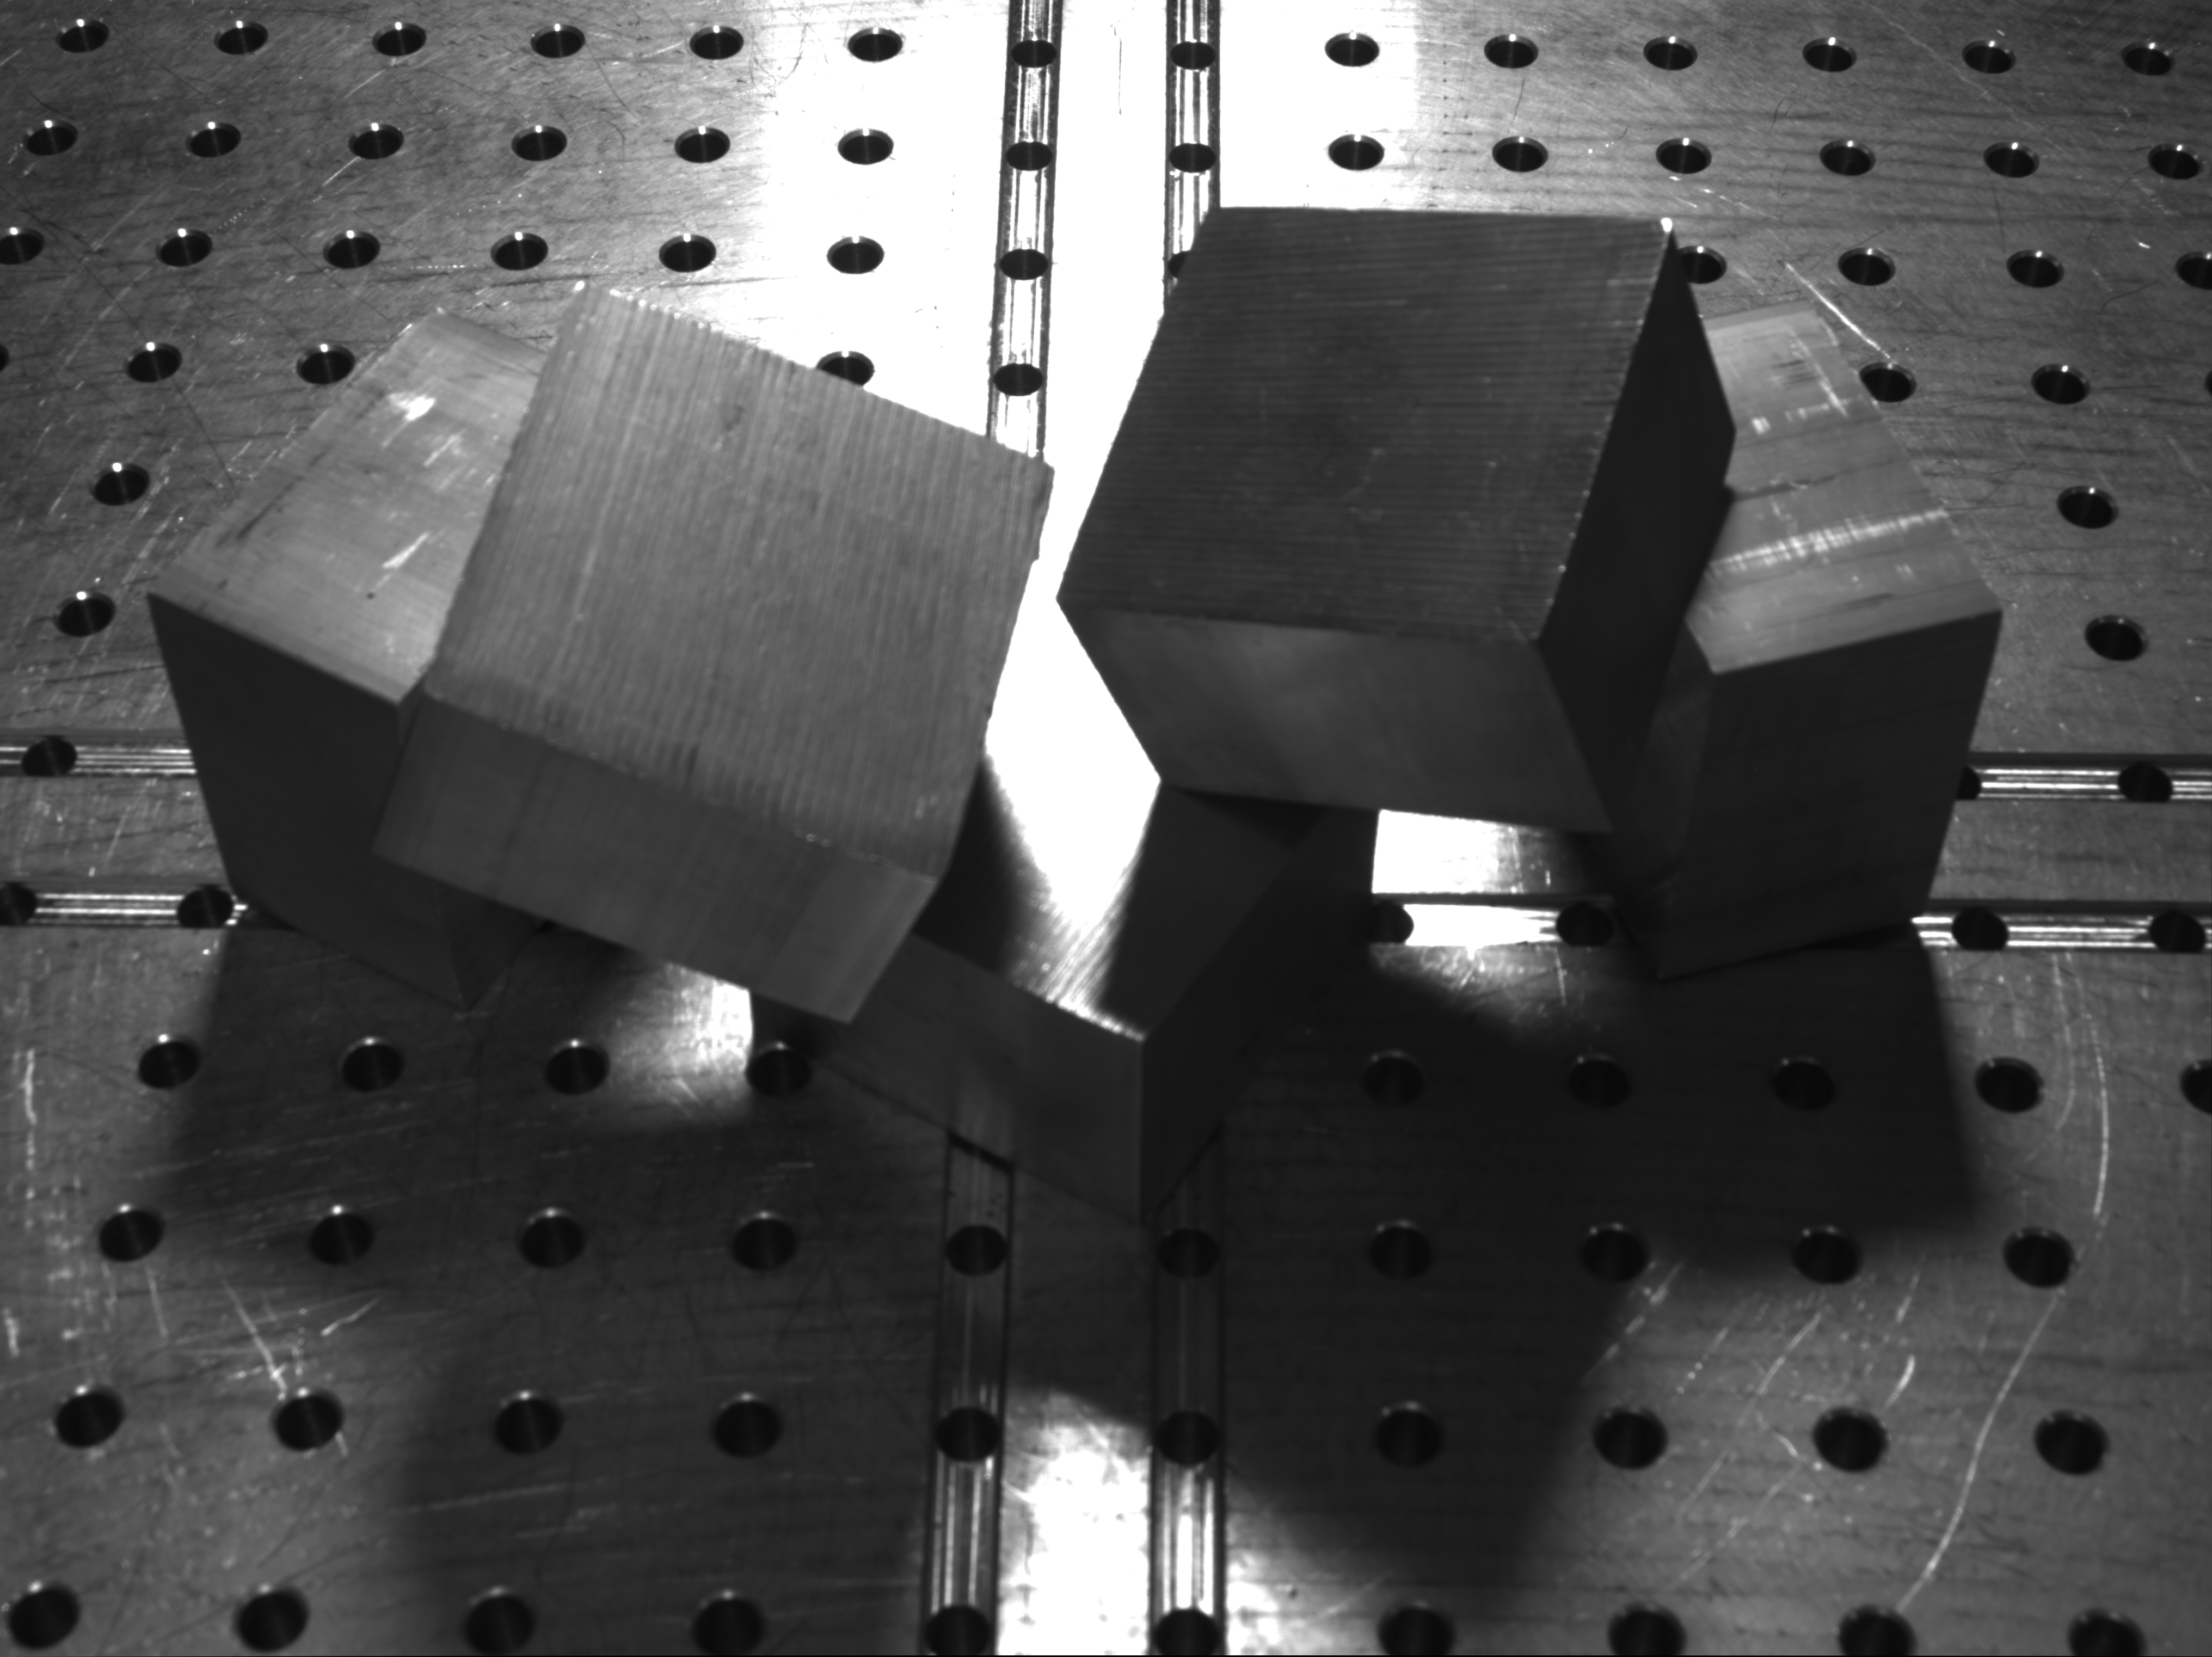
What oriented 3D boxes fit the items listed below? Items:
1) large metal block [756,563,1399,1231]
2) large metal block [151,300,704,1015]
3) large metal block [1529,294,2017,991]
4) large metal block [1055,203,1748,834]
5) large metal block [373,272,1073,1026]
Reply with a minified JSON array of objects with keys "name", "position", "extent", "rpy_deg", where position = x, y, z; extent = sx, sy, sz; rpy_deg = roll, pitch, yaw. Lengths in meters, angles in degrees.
[{"name":"large metal block","position":[-0.005,0.008,0.621],"extent":[0.080,0.050,0.080],"rpy_deg":[26,54,20]},{"name":"large metal block","position":[-0.112,-0.030,0.634],"extent":[0.050,0.080,0.080],"rpy_deg":[24,54,19]},{"name":"large metal block","position":[0.111,-0.032,0.636],"extent":[0.050,0.080,0.080],"rpy_deg":[-12,51,-10]},{"name":"large metal block","position":[0.049,-0.050,0.580],"extent":[0.080,0.050,0.080],"rpy_deg":[7,61,26]},{"name":"large metal block","position":[-0.058,-0.027,0.566],"extent":[0.080,0.050,0.080],"rpy_deg":[20,57,-10]}]
